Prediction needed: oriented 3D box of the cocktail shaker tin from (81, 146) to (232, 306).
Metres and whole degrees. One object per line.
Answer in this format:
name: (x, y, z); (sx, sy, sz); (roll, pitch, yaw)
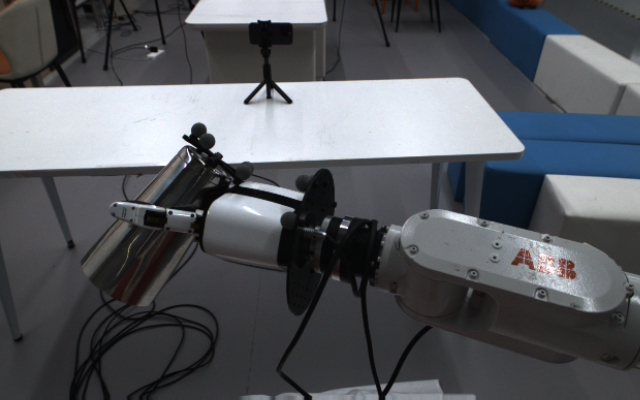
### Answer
cocktail shaker tin: (-0.175, 0.022, 0.549); (0.170, 0.093, 0.093); (-50, 46, 4)
